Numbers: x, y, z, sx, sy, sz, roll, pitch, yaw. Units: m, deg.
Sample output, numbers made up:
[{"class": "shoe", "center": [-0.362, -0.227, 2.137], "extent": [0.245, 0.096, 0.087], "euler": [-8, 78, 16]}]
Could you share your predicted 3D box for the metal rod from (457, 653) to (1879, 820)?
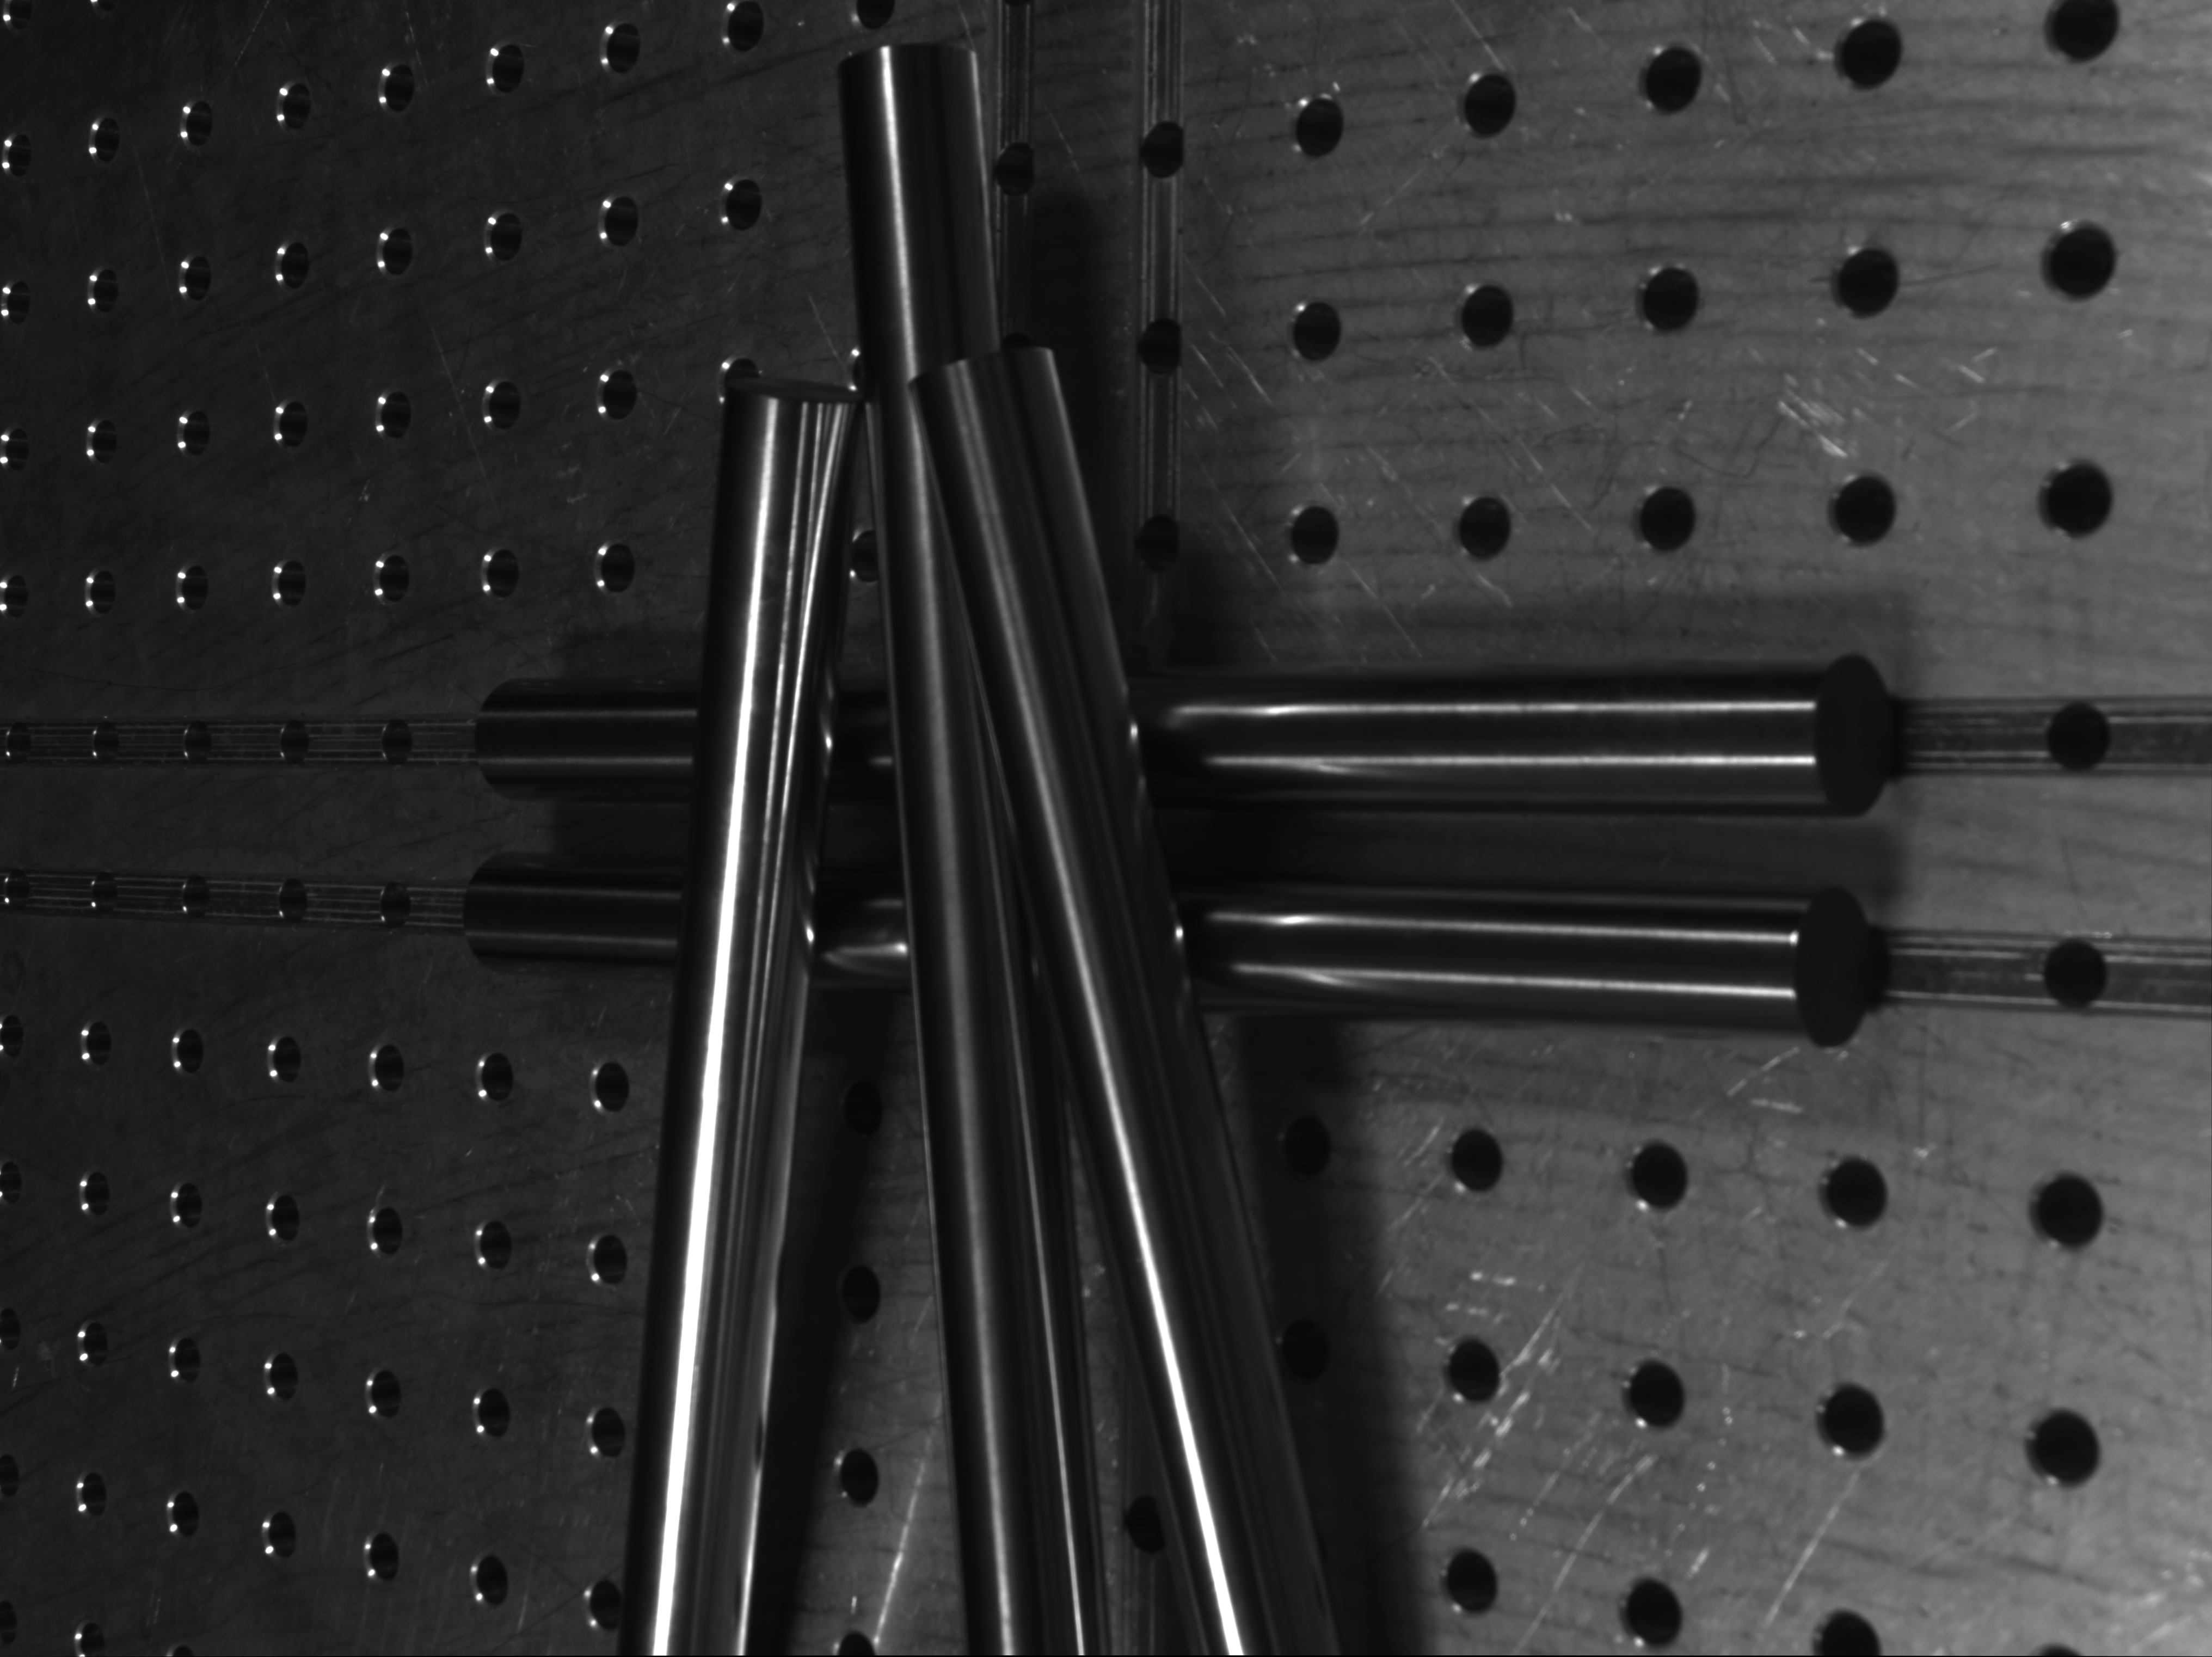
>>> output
[{"class": "metal rod", "center": [-0.006, -0.016, 0.644], "extent": [0.299, 0.025, 0.025], "euler": [1, 90, 39]}]

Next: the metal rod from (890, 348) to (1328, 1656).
[{"class": "metal rod", "center": [0.009, 0.070, 0.607], "extent": [0.025, 0.025, 0.300], "euler": [-14, 88, 39]}]

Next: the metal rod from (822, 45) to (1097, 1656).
[{"class": "metal rod", "center": [-0.024, 0.016, 0.628], "extent": [0.025, 0.025, 0.300], "euler": [-8, 85, 39]}]

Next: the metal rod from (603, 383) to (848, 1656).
[{"class": "metal rod", "center": [-0.073, 0.068, 0.675], "extent": [0.025, 0.025, 0.300], "euler": [18, 108, 38]}]

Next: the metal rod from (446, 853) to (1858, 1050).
[{"class": "metal rod", "center": [-0.008, 0.019, 0.647], "extent": [0.299, 0.025, 0.025], "euler": [1, 90, 39]}]
